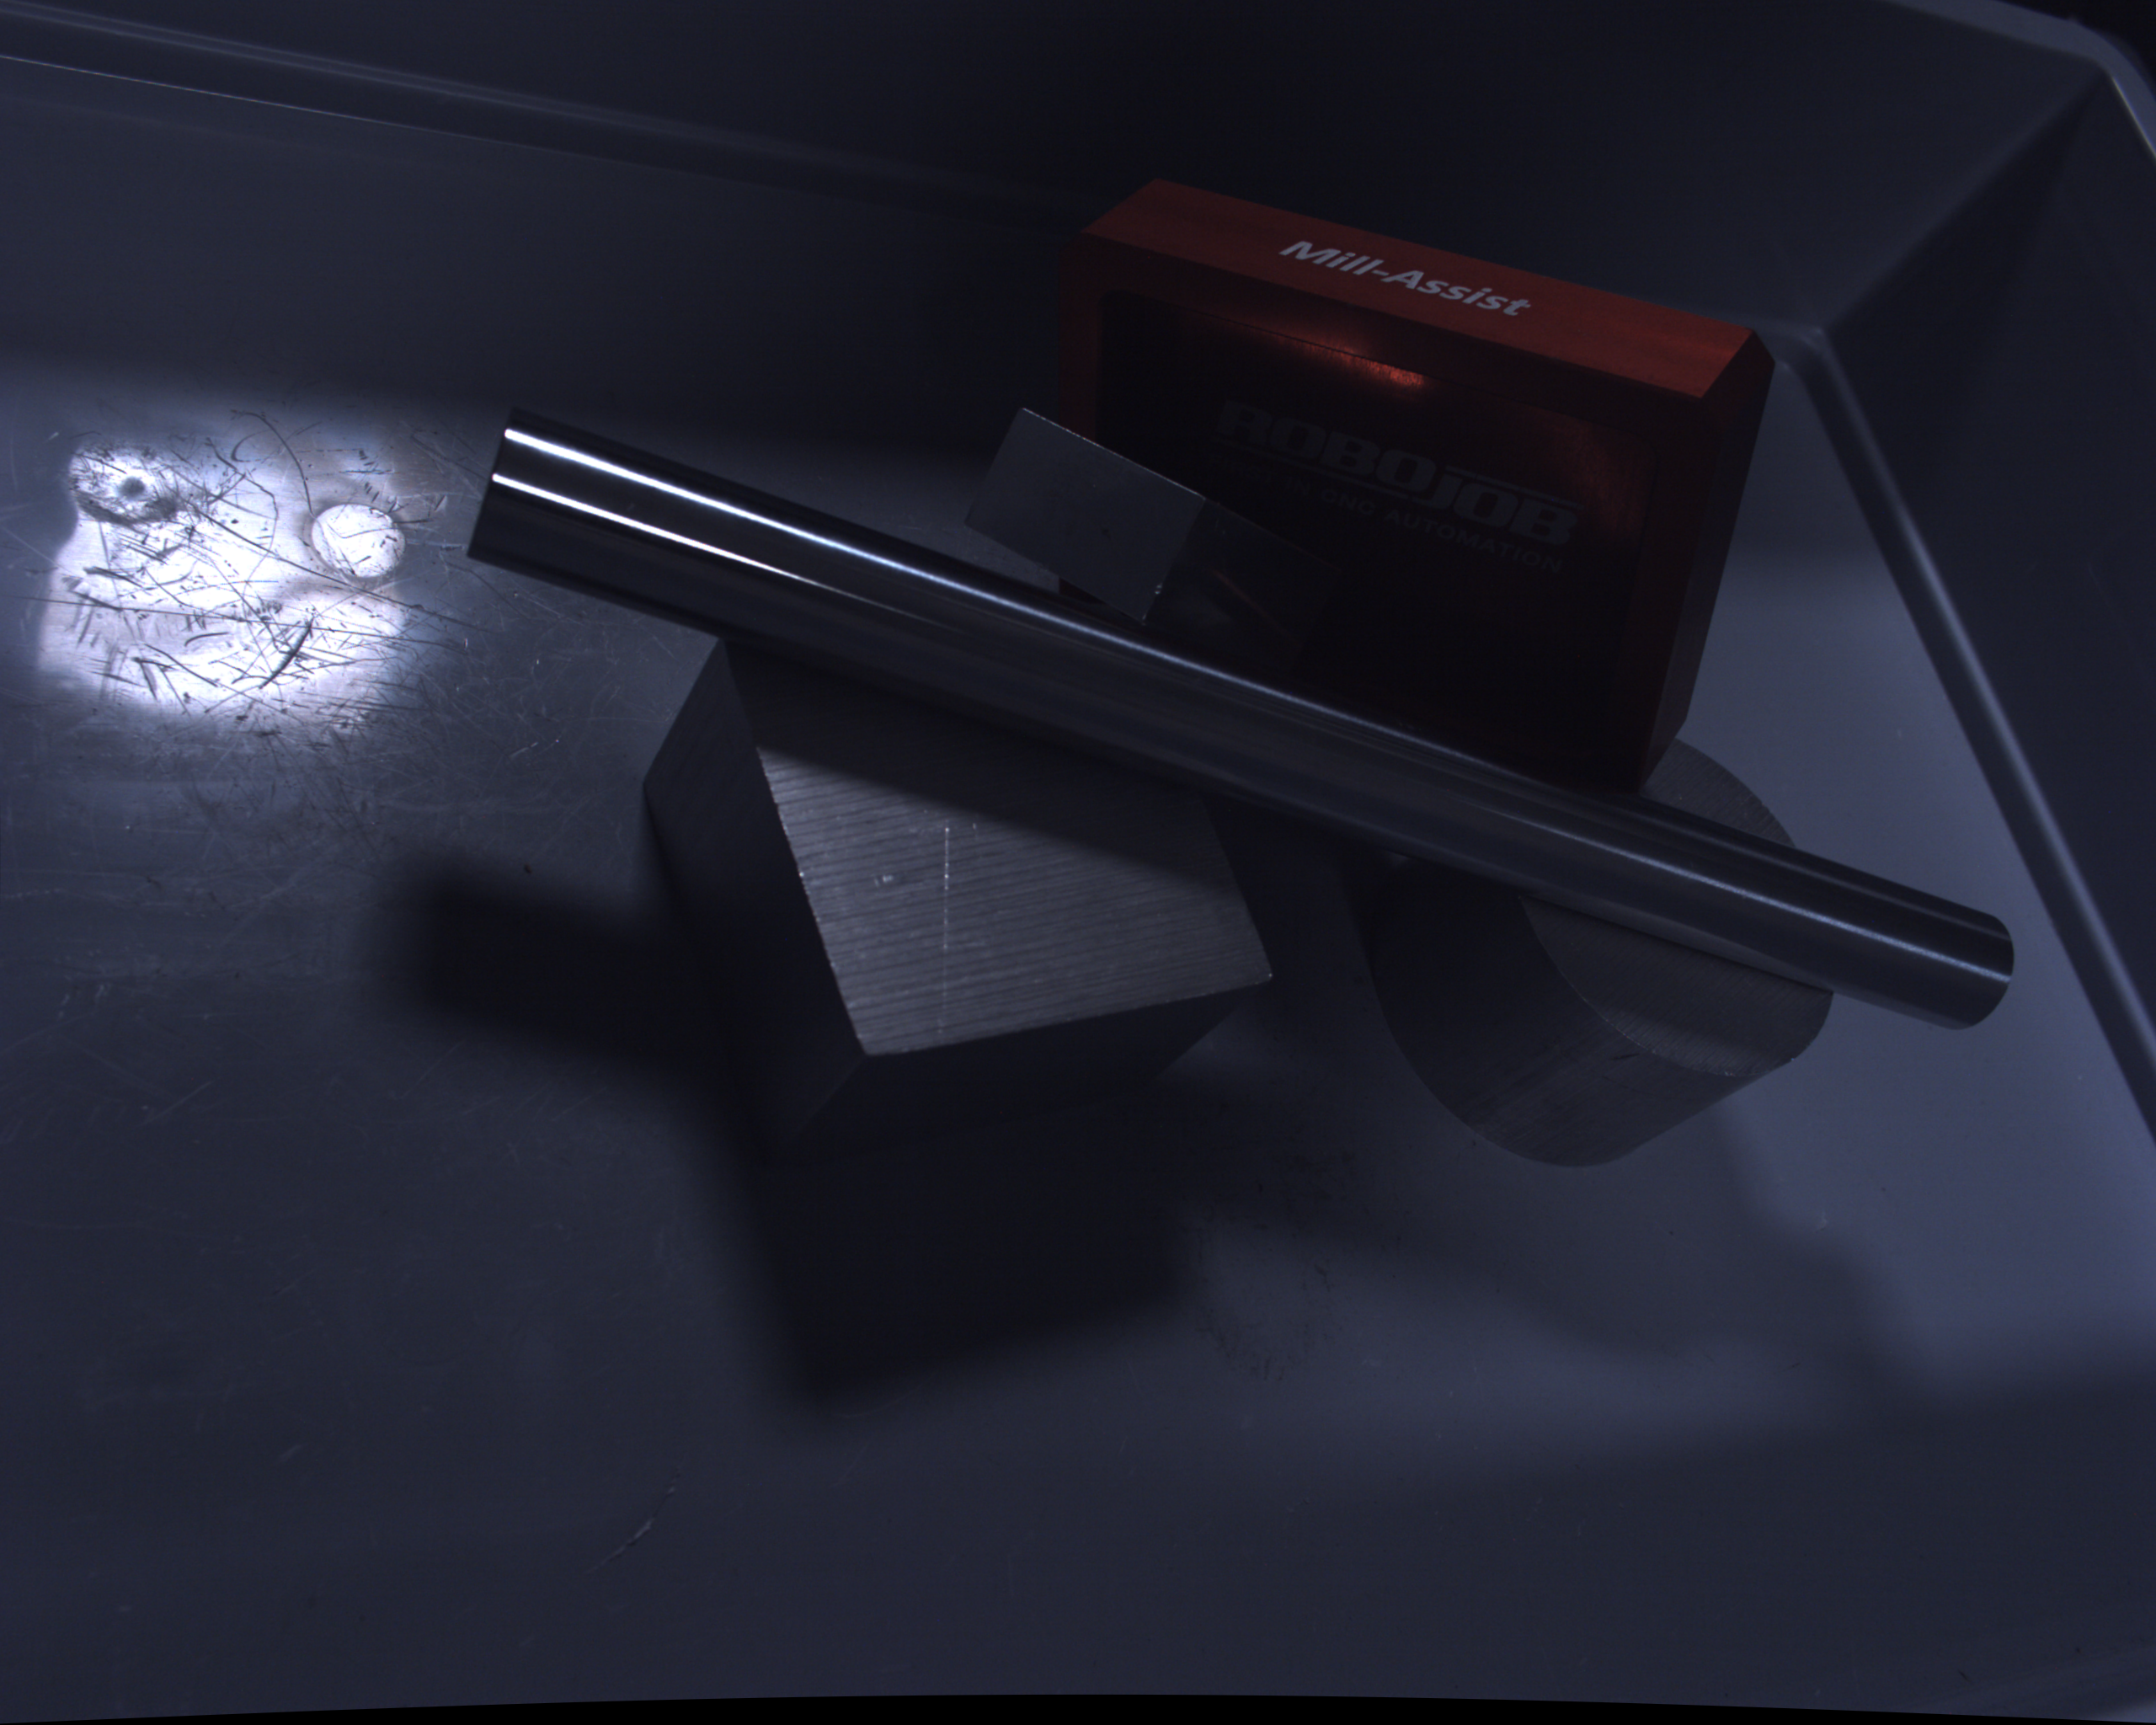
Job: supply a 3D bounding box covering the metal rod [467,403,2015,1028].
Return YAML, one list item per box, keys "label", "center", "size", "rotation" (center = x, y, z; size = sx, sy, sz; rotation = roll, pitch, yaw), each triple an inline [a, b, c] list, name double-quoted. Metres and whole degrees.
- label: "metal rod"
  center: [0.045, -0.019, 0.376]
  size: [0.302, 0.025, 0.025]
  rotation: [17, 55, -19]

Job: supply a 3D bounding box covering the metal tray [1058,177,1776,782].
- label: "metal tray"
  center: [0.059, -0.073, 0.409]
  size: [0.130, 0.089, 0.030]
  rotation: [22, 46, 22]

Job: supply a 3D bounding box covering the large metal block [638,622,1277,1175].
- label: "large metal block"
  center: [-0.024, 0.003, 0.375]
  size: [0.081, 0.050, 0.080]
  rotation: [-8, 66, -32]

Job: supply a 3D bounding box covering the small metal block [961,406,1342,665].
- label: "small metal block"
  center: [0.015, -0.062, 0.408]
  size: [0.050, 0.025, 0.050]
  rotation: [34, 11, 36]

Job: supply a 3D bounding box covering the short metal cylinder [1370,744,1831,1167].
- label: "short metal cylinder"
  center: [0.109, 0.018, 0.438]
  size: [0.081, 0.050, 0.080]
  rotation: [14, 56, -21]
